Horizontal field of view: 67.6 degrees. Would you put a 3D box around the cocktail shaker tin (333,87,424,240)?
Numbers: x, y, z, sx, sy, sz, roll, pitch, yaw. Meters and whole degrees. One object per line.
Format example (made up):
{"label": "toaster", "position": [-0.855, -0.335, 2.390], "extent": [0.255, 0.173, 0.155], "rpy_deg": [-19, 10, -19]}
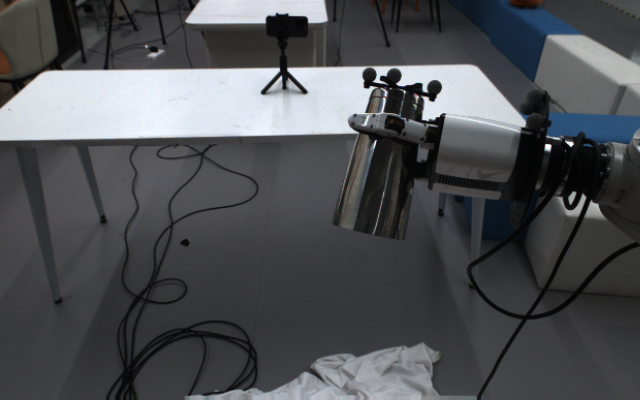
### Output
{"label": "cocktail shaker tin", "position": [0.080, -0.047, 0.592], "extent": [0.093, 0.170, 0.093], "rpy_deg": [13, 1, 0]}
